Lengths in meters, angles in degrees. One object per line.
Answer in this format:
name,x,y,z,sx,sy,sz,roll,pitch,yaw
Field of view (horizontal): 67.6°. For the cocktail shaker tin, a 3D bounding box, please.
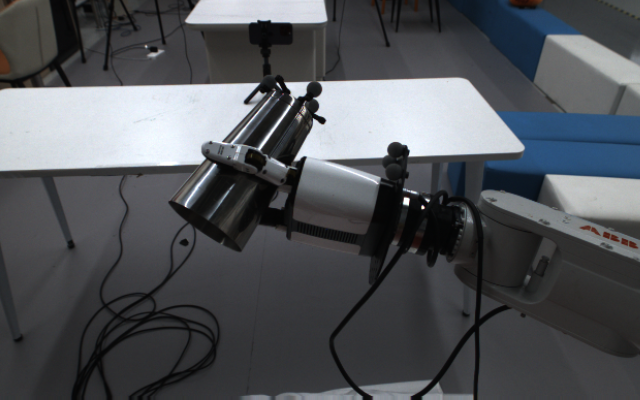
cocktail shaker tin,-0.078,-0.042,0.539,0.093,0.093,0.170,22,67,26
